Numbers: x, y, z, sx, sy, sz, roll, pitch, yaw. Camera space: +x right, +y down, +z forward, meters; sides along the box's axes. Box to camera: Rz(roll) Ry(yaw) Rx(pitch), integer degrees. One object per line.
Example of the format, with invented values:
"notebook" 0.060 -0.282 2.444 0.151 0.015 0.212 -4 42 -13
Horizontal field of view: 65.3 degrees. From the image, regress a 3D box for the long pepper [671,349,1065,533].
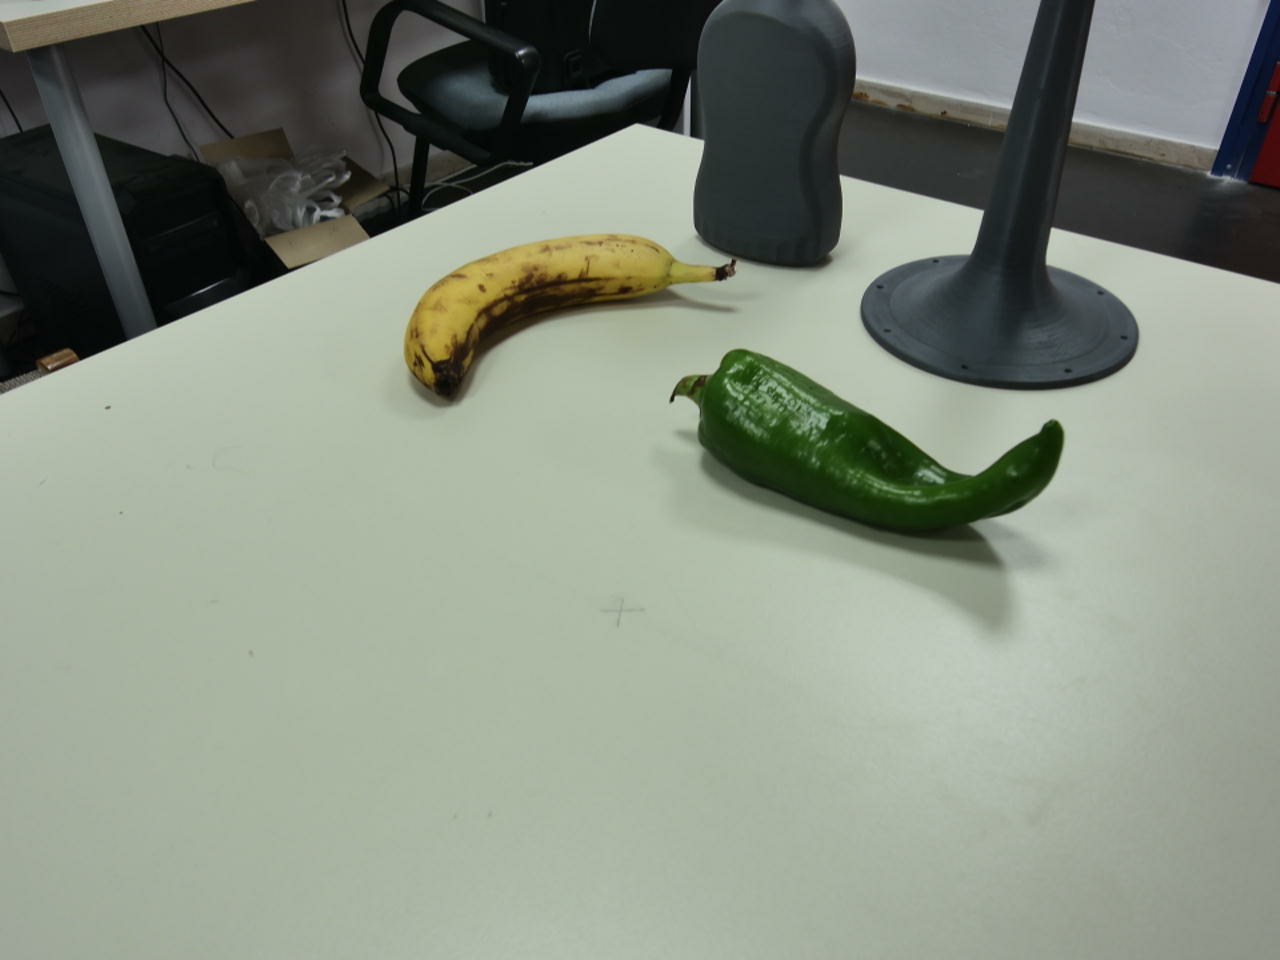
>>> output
"long pepper" 0.085 -0.020 0.428 0.175 0.065 0.058 25 43 30
